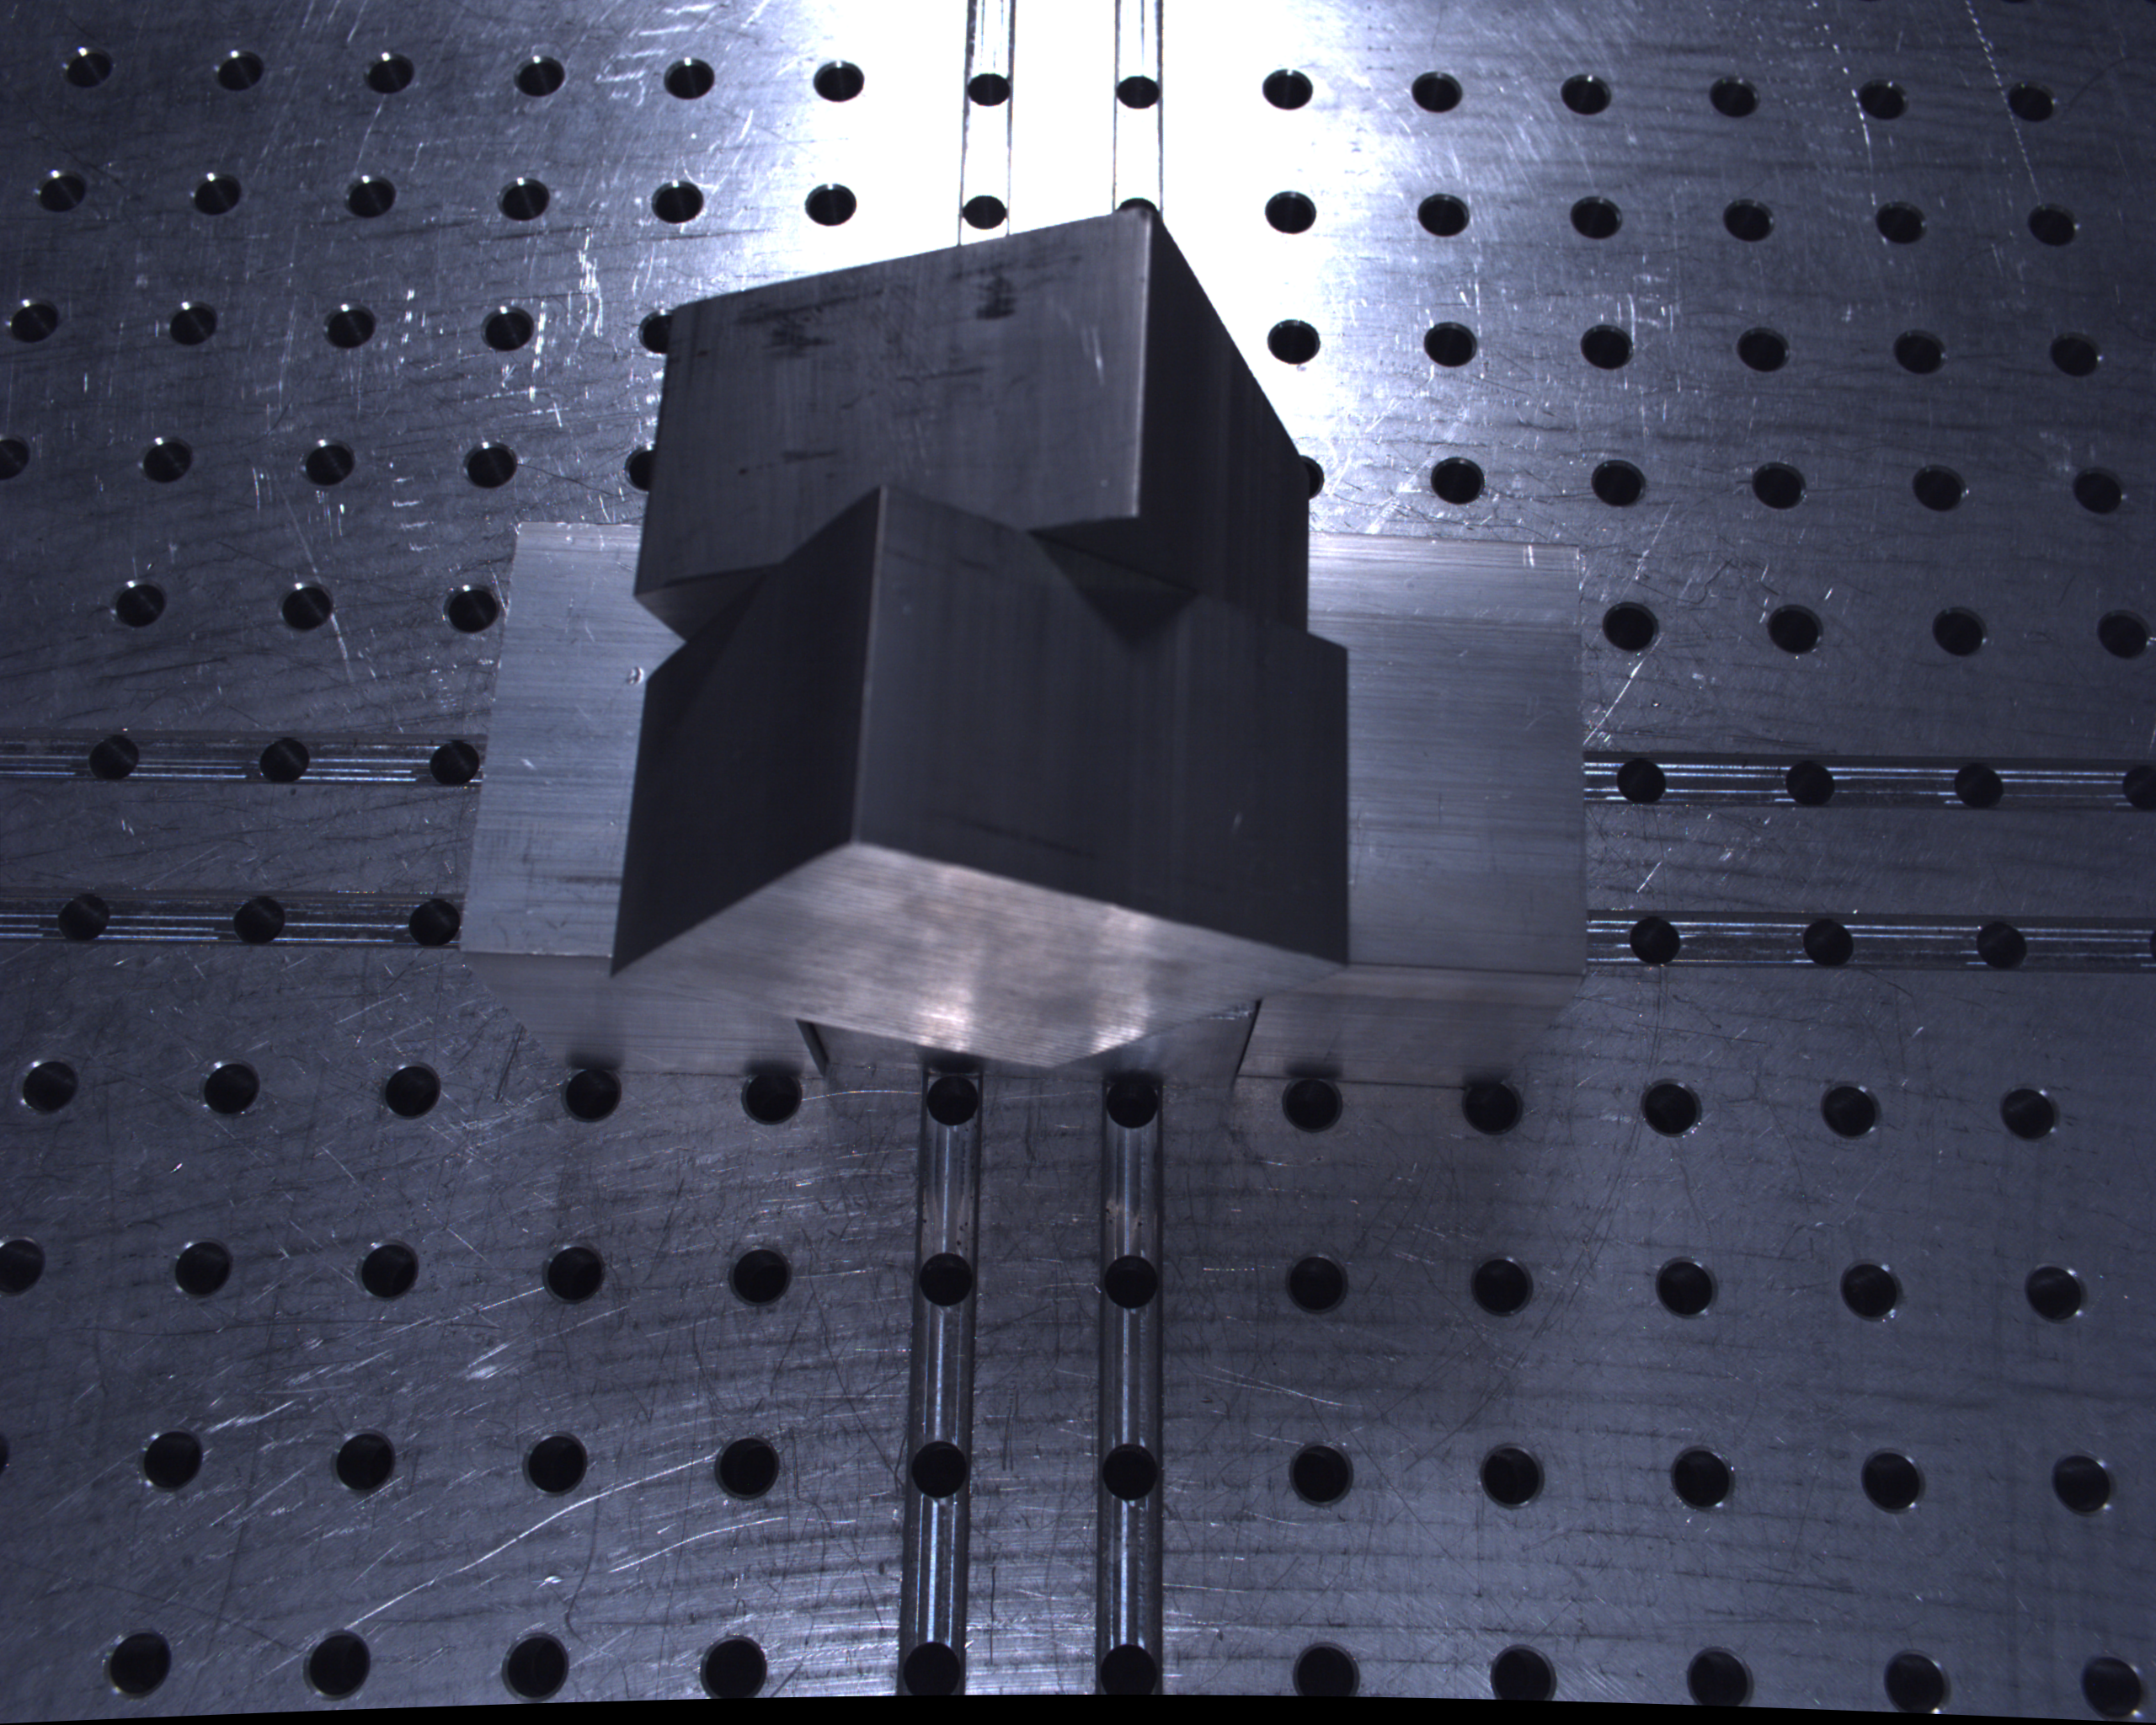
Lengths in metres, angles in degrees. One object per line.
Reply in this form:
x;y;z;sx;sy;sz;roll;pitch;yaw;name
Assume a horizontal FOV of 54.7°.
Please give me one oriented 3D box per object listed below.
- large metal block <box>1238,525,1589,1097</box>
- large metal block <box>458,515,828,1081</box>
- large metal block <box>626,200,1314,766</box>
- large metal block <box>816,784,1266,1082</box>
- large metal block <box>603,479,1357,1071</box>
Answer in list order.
0.059;-0.006;0.385;0.050;0.080;0.080;4;70;1;large metal block
-0.073;-0.009;0.385;0.050;0.080;0.080;2;70;0;large metal block
-0.013;-0.053;0.334;0.080;0.080;0.050;-6;68;22;large metal block
-0.006;-0.005;0.398;0.081;0.050;0.080;3;70;0;large metal block
-0.015;-0.007;0.314;0.081;0.080;0.050;15;66;-30;large metal block
